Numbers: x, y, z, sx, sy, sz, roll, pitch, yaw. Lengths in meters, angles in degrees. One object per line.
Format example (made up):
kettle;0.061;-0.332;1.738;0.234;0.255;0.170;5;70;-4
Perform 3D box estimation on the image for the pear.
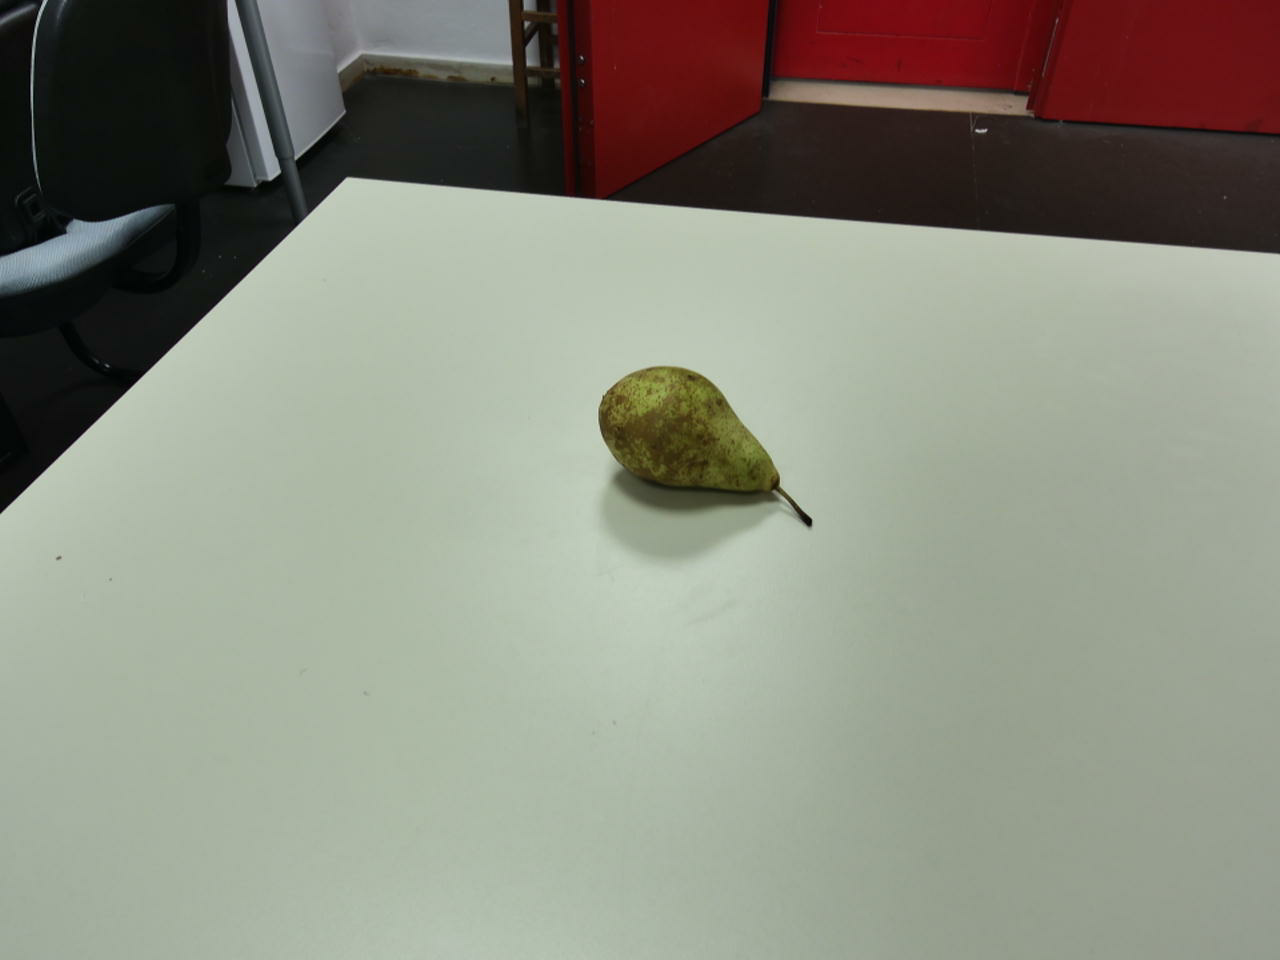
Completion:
pear;0.039;-0.029;0.590;0.128;0.075;0.071;4;39;4
